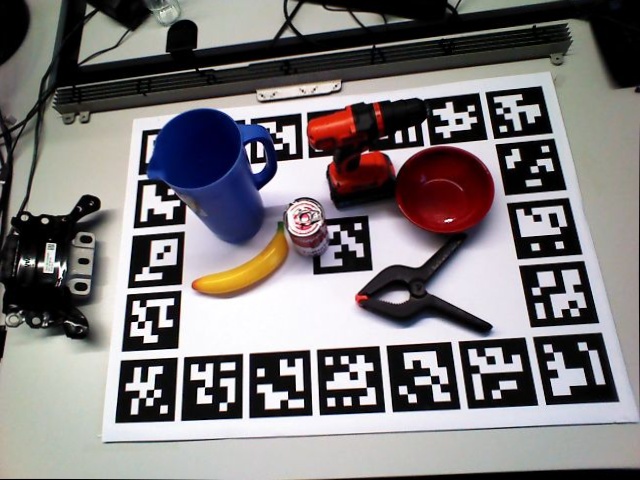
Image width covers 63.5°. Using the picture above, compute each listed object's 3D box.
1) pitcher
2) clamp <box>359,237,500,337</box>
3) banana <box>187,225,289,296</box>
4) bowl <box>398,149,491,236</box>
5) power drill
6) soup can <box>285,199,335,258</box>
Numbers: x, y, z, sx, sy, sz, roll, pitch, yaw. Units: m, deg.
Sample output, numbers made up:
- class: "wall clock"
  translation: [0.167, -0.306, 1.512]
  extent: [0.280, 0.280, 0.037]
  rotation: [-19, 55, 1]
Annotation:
- class: "pitcher"
  translation: [-0.147, -0.092, 0.818]
  extent: [0.189, 0.243, 0.133]
  rotation: [-28, 65, -3]
- class: "clamp"
  translation: [0.162, 0.080, 0.811]
  extent: [0.203, 0.037, 0.164]
  rotation: [-8, 73, 6]
- class: "banana"
  translation: [-0.130, 0.049, 0.876]
  extent: [0.197, 0.039, 0.074]
  rotation: [-29, 60, -4]
- class: "bowl"
  translation: [0.211, -0.074, 0.857]
  extent: [0.162, 0.055, 0.161]
  rotation: [-3, 71, 8]
- class: "power drill"
  translation: [0.088, -0.146, 0.812]
  extent: [0.185, 0.187, 0.057]
  rotation: [-10, 69, 4]
- class: "soup can"
  translation: [-0.014, -0.022, 0.849]
  extent: [0.068, 0.102, 0.067]
  rotation: [-4, 61, 7]
